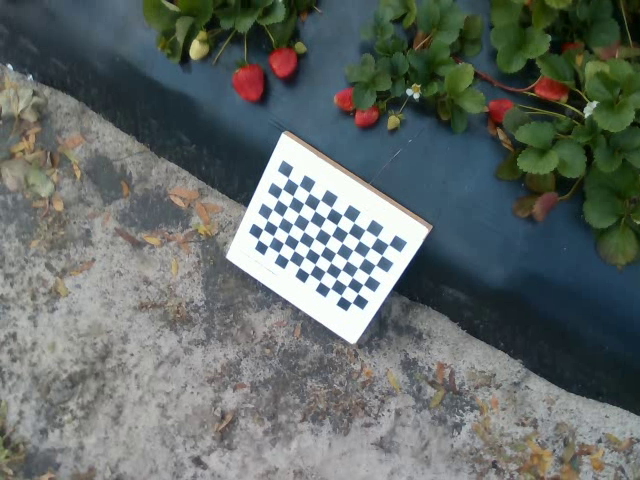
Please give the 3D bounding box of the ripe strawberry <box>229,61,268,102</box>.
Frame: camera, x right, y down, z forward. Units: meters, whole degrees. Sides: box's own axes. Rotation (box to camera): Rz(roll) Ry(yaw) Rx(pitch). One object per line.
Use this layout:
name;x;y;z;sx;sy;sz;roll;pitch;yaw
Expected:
ripe strawberry;-0.119;-0.257;1.139;0.058;0.065;0.043;-26;-7;38

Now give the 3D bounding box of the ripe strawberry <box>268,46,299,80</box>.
ripe strawberry;-0.063;-0.289;1.127;0.051;0.060;0.050;23;-40;-34

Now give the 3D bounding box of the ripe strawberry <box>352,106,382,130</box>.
ripe strawberry;0.072;-0.198;1.089;0.043;0.049;0.041;30;-30;12

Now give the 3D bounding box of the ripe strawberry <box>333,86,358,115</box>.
ripe strawberry;0.043;-0.228;1.104;0.053;0.047;0.039;-3;32;-8
